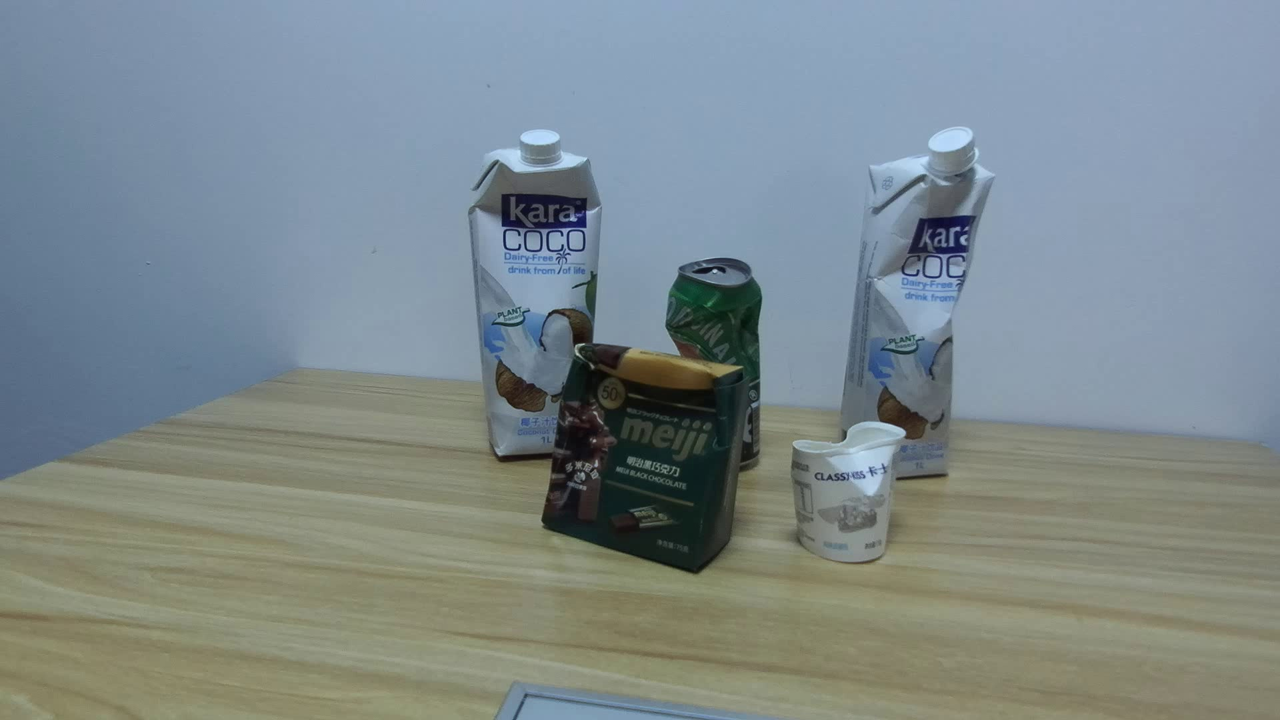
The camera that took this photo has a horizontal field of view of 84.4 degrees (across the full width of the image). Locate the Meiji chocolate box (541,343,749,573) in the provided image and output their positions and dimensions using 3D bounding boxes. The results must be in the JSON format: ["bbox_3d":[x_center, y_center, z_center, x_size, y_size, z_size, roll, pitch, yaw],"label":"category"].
[{"bbox_3d":[0.003,0.057,0.434,0.113,0.110,0.058,9,5,25],"label":"Meiji chocolate box"}]

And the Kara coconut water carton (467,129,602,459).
[{"bbox_3d":[-0.079,-0.050,0.553,0.100,0.244,0.071,-4,12,-16],"label":"Kara coconut water carton"}]

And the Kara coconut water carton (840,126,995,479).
[{"bbox_3d":[0.203,-0.040,0.534,0.083,0.255,0.078,1,15,-3],"label":"Kara coconut water carton"}]

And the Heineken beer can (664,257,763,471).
[{"bbox_3d":[0.060,0.005,0.540,0.067,0.159,0.079,1,18,11],"label":"Heineken beer can"}]
